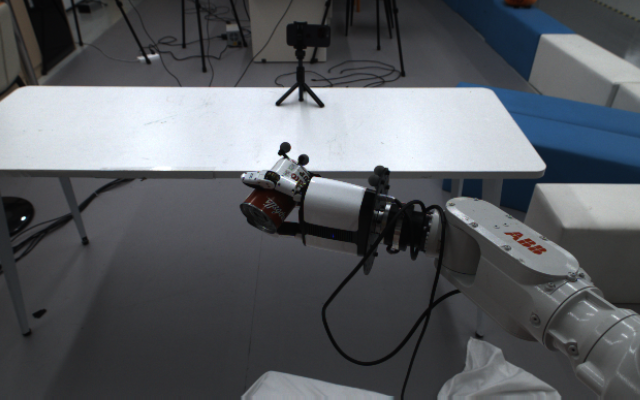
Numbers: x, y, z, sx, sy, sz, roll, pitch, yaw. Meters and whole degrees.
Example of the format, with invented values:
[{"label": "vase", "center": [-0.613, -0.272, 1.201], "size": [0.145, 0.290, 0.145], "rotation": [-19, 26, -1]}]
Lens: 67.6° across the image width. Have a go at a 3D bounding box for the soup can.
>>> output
[{"label": "soup can", "center": [-0.065, -0.008, 0.742], "size": [0.067, 0.067, 0.101], "rotation": [22, 60, 27]}]
